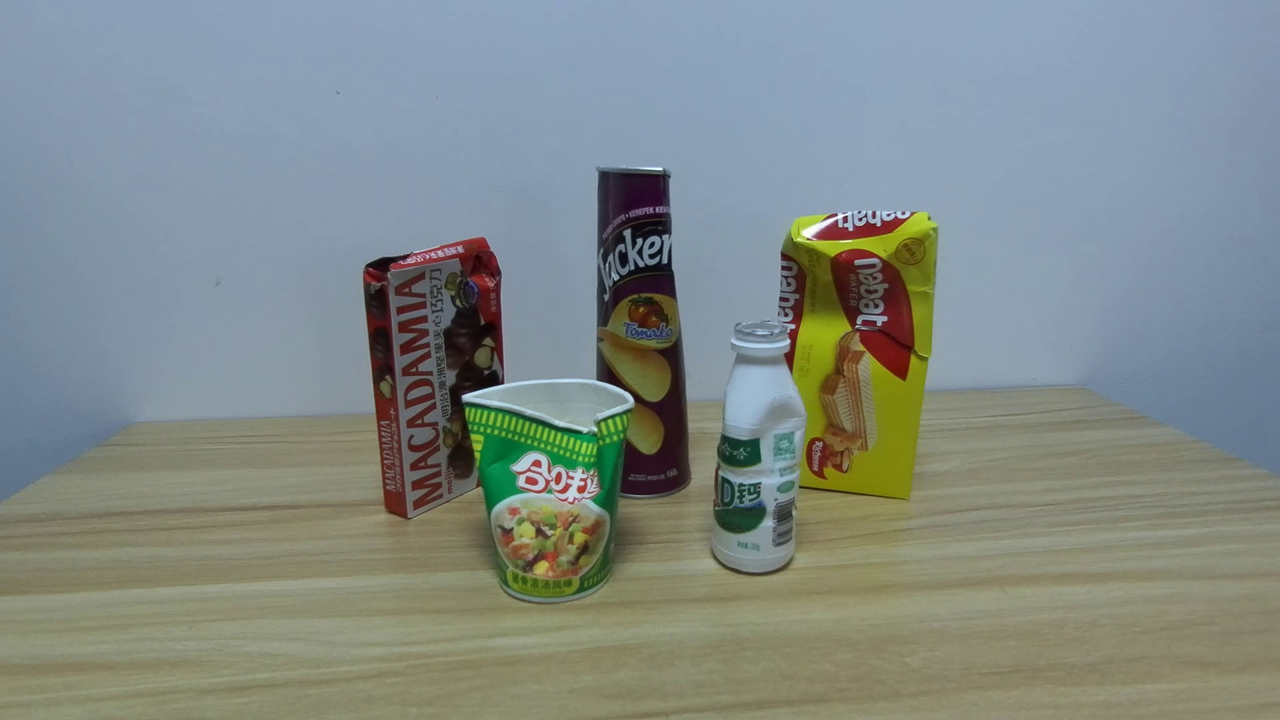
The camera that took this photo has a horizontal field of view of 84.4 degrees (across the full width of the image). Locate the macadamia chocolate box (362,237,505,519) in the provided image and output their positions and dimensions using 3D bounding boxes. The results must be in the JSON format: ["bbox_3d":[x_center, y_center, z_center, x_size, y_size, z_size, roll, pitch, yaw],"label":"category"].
[{"bbox_3d":[-0.140,0.011,0.508,0.027,0.187,0.103,16,23,34],"label":"macadamia chocolate box"}]

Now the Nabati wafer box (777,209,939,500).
[{"bbox_3d":[0.152,-0.003,0.510,0.106,0.204,0.042,4,18,14],"label":"Nabati wafer box"}]

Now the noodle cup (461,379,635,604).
[{"bbox_3d":[-0.049,0.075,0.417,0.075,0.122,0.082,-6,7,-43],"label":"noodle cup"}]

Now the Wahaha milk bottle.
[{"bbox_3d":[0.068,0.052,0.423,0.055,0.149,0.055,-2,17,1],"label":"Wahaha milk bottle"}]

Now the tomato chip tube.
[{"bbox_3d":[0.002,-0.021,0.522,0.076,0.235,0.078,7,16,26],"label":"tomato chip tube"}]
